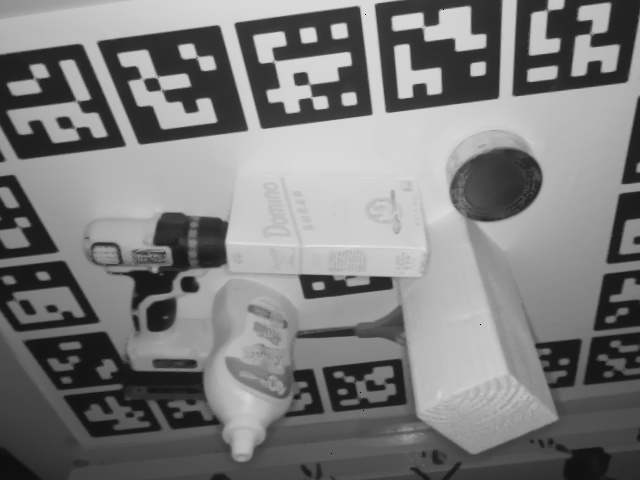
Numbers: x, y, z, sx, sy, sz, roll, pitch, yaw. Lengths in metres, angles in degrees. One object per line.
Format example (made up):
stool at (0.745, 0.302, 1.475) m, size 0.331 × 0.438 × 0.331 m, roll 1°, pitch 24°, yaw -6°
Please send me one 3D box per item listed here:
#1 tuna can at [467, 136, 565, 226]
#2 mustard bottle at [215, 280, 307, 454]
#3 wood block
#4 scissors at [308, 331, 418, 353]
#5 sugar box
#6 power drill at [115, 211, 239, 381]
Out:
tuna can at (0.181, -0.053, 0.648) m, size 0.086 × 0.034 × 0.085 m, roll -1°, pitch 126°, yaw 0°
mustard bottle at (-0.059, 0.129, 0.694) m, size 0.097 × 0.193 × 0.057 m, roll 36°, pitch 118°, yaw -24°
wood block at (0.154, 0.080, 0.657) m, size 0.090 × 0.208 × 0.090 m, roll -30°, pitch 121°, yaw 20°
scissors at (0.087, 0.115, 0.788) m, size 0.203 × 0.016 × 0.087 m, roll -4°, pitch 131°, yaw 1°
sugar box at (0.018, -0.015, 0.642) m, size 0.177 × 0.093 × 0.045 m, roll 4°, pitch 130°, yaw -3°
power drill at (-0.112, 0.058, 0.713) m, size 0.185 × 0.058 × 0.185 m, roll 4°, pitch 120°, yaw -5°
